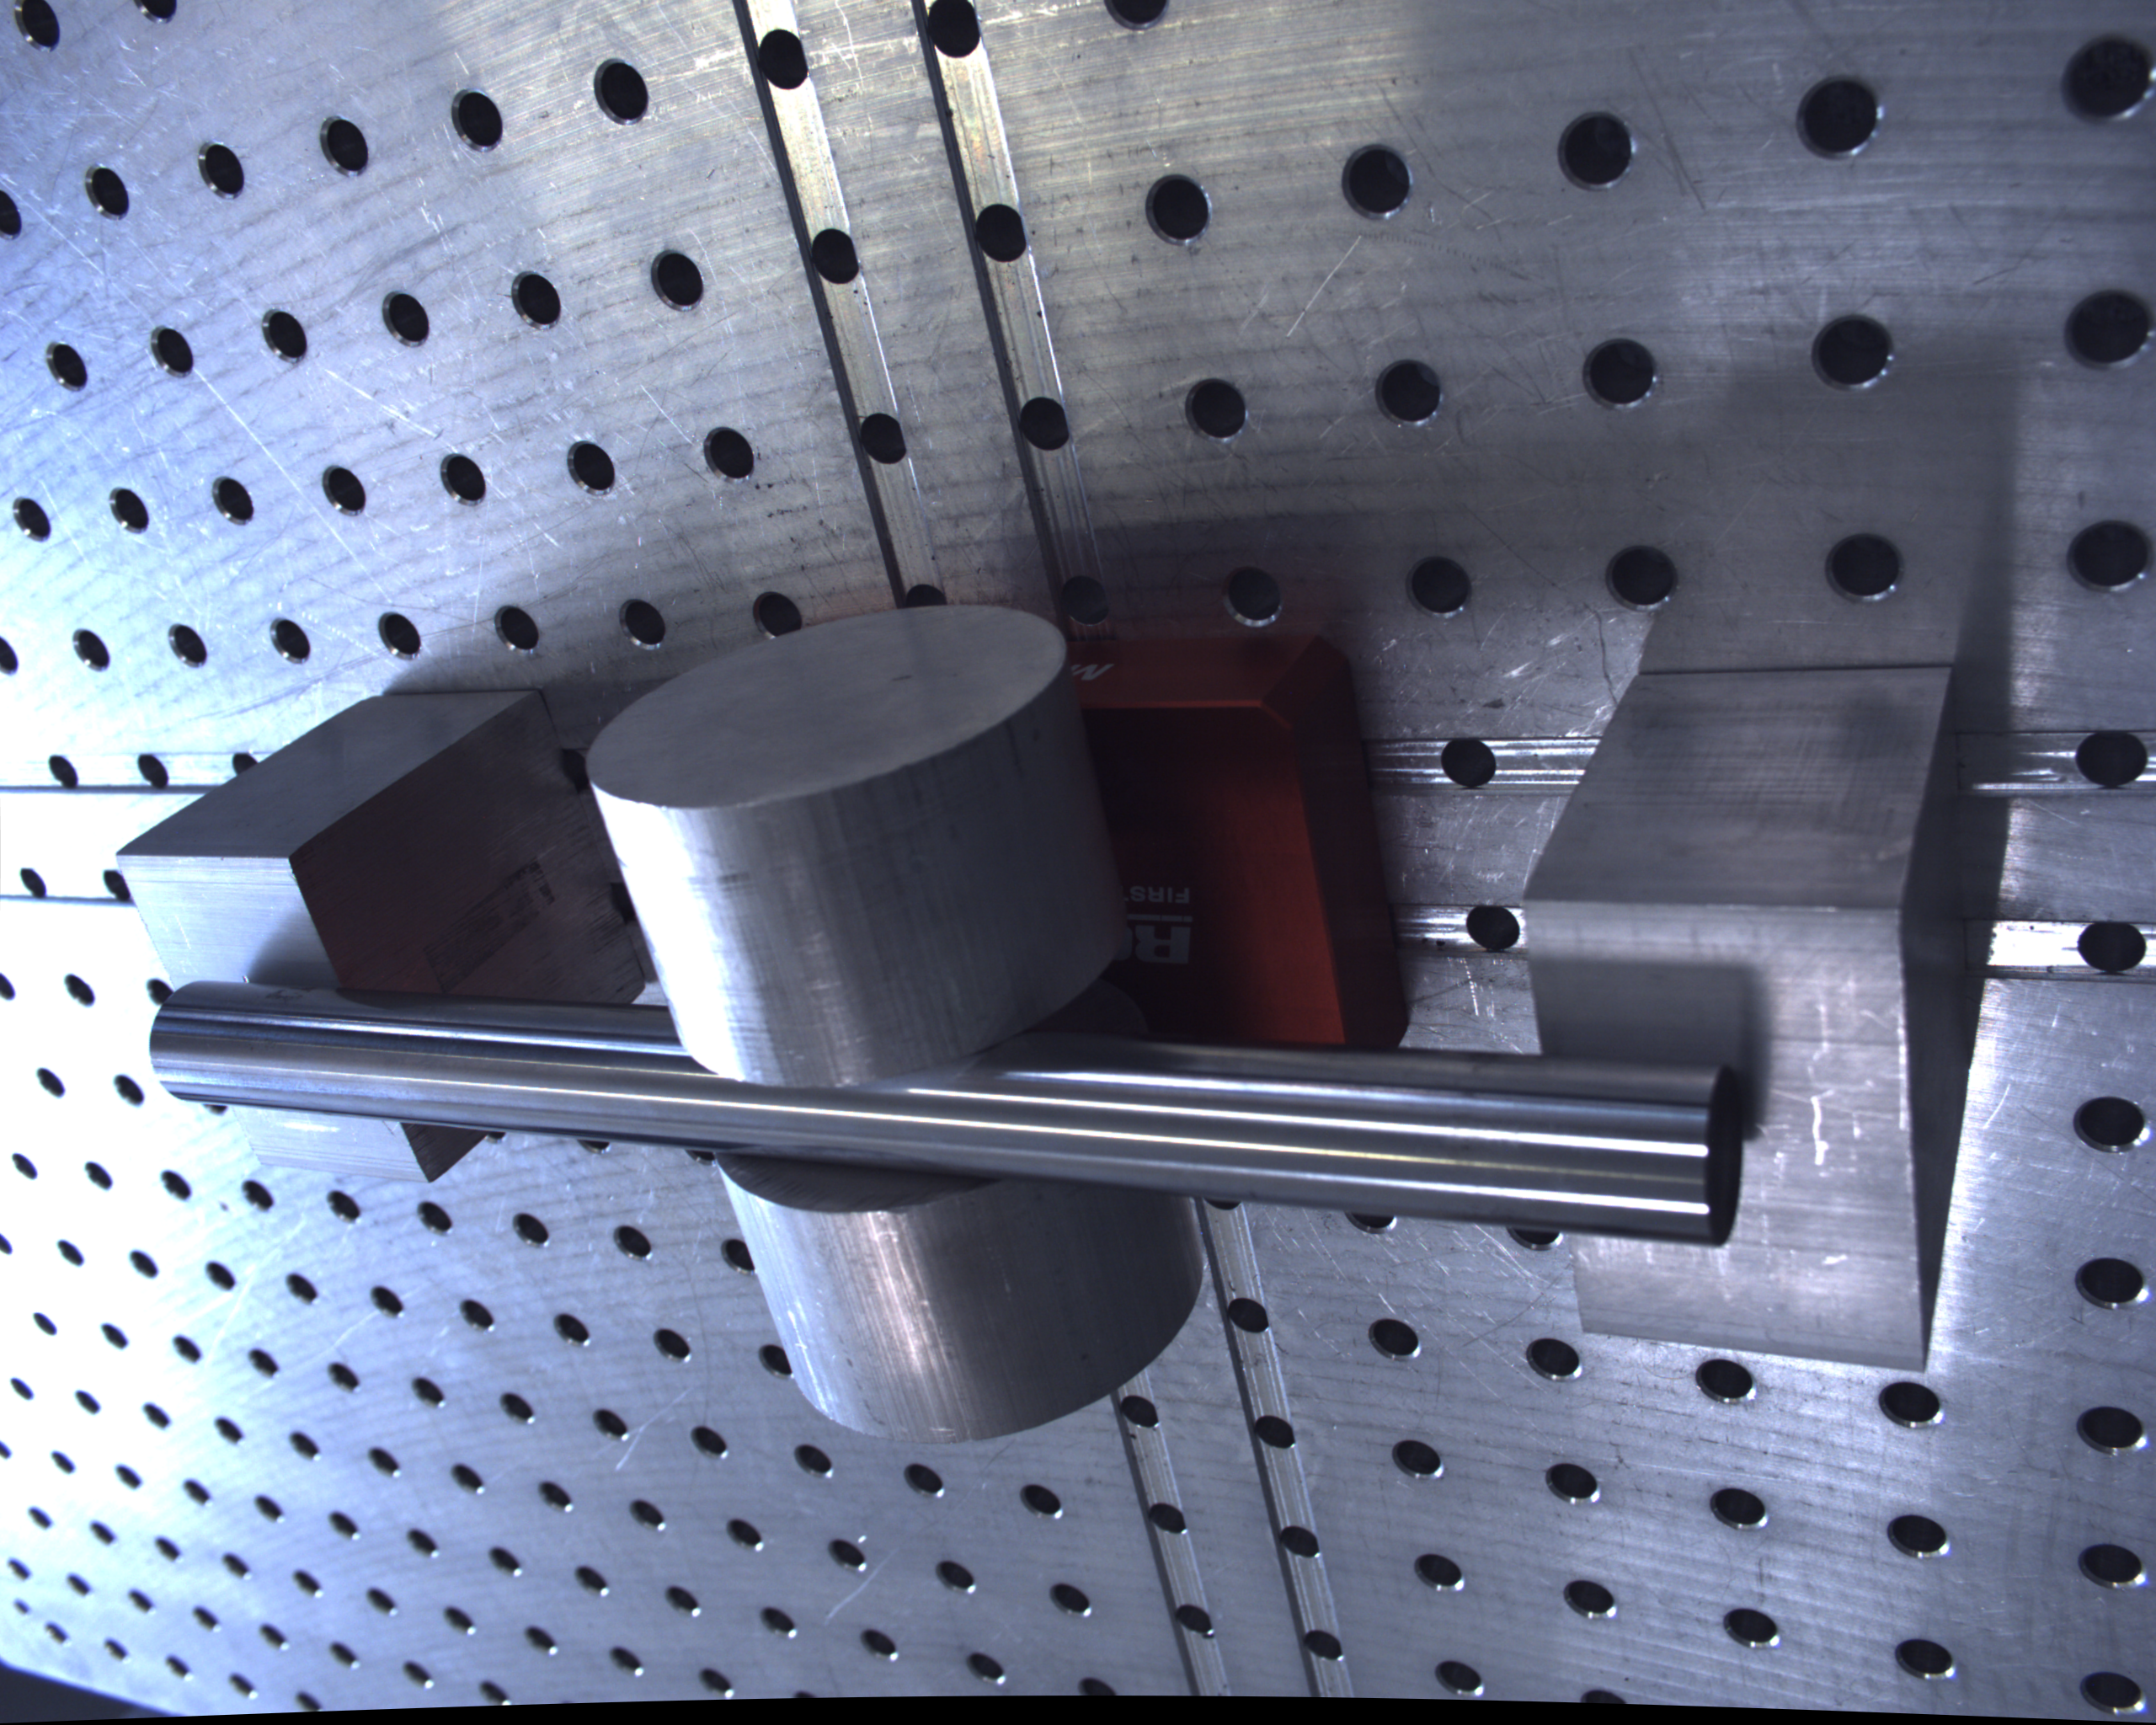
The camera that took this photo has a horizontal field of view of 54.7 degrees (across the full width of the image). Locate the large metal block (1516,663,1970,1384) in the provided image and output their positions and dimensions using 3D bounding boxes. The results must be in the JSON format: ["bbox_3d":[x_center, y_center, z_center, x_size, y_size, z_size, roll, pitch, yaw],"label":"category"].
[{"bbox_3d":[0.109,0.022,0.330,0.050,0.080,0.080,1,119,28],"label":"large metal block"}]

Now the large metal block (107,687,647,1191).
[{"bbox_3d":[-0.151,0.014,0.463,0.050,0.080,0.080,1,119,28],"label":"large metal block"}]

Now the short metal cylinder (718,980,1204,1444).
[{"bbox_3d":[-0.021,0.060,0.385,0.080,0.080,0.050,1,119,28],"label":"short metal cylinder"}]

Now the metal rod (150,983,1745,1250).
[{"bbox_3d":[-0.044,0.039,0.354,0.300,0.025,0.025,1,119,27],"label":"metal rod"}]

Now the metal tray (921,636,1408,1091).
[{"bbox_3d":[-0.007,0.004,0.414,0.130,0.030,0.089,1,119,27],"label":"metal tray"}]

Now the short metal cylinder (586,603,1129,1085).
[{"bbox_3d":[-0.036,-0.006,0.352,0.080,0.080,0.050,1,119,28],"label":"short metal cylinder"}]
